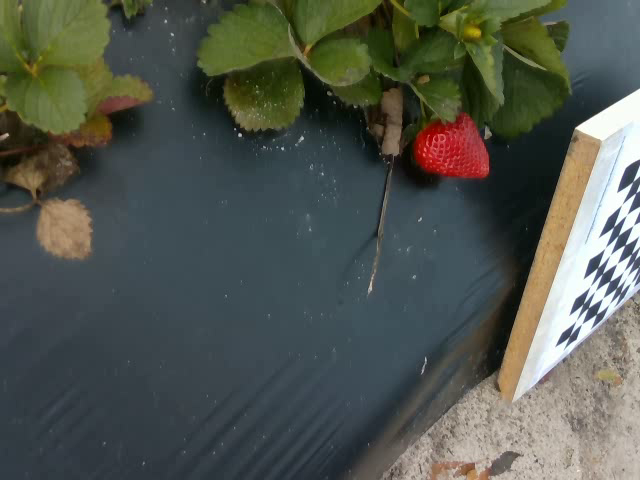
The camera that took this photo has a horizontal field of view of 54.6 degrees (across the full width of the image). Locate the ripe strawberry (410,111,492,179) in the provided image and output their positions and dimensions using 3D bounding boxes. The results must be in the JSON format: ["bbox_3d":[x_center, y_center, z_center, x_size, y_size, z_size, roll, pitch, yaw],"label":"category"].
[{"bbox_3d":[0.067,-0.044,0.304,0.046,0.037,0.037,37,10,-4],"label":"ripe strawberry"}]
